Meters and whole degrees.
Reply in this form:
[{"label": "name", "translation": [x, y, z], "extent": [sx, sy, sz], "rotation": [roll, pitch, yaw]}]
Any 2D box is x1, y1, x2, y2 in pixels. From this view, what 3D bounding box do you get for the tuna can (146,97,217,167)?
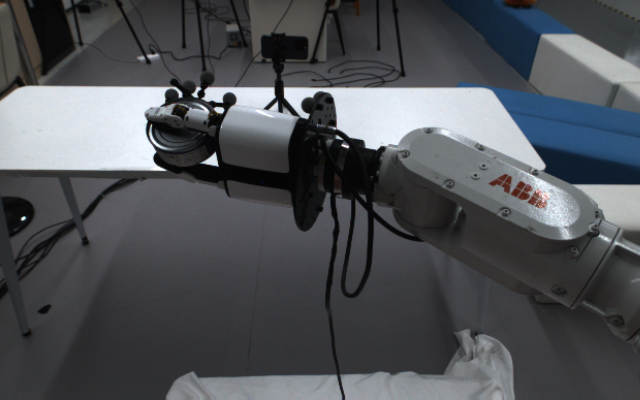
[{"label": "tuna can", "translation": [-0.165, -0.084, 0.593], "extent": [0.085, 0.034, 0.085], "rotation": [-3, 57, 4]}]
